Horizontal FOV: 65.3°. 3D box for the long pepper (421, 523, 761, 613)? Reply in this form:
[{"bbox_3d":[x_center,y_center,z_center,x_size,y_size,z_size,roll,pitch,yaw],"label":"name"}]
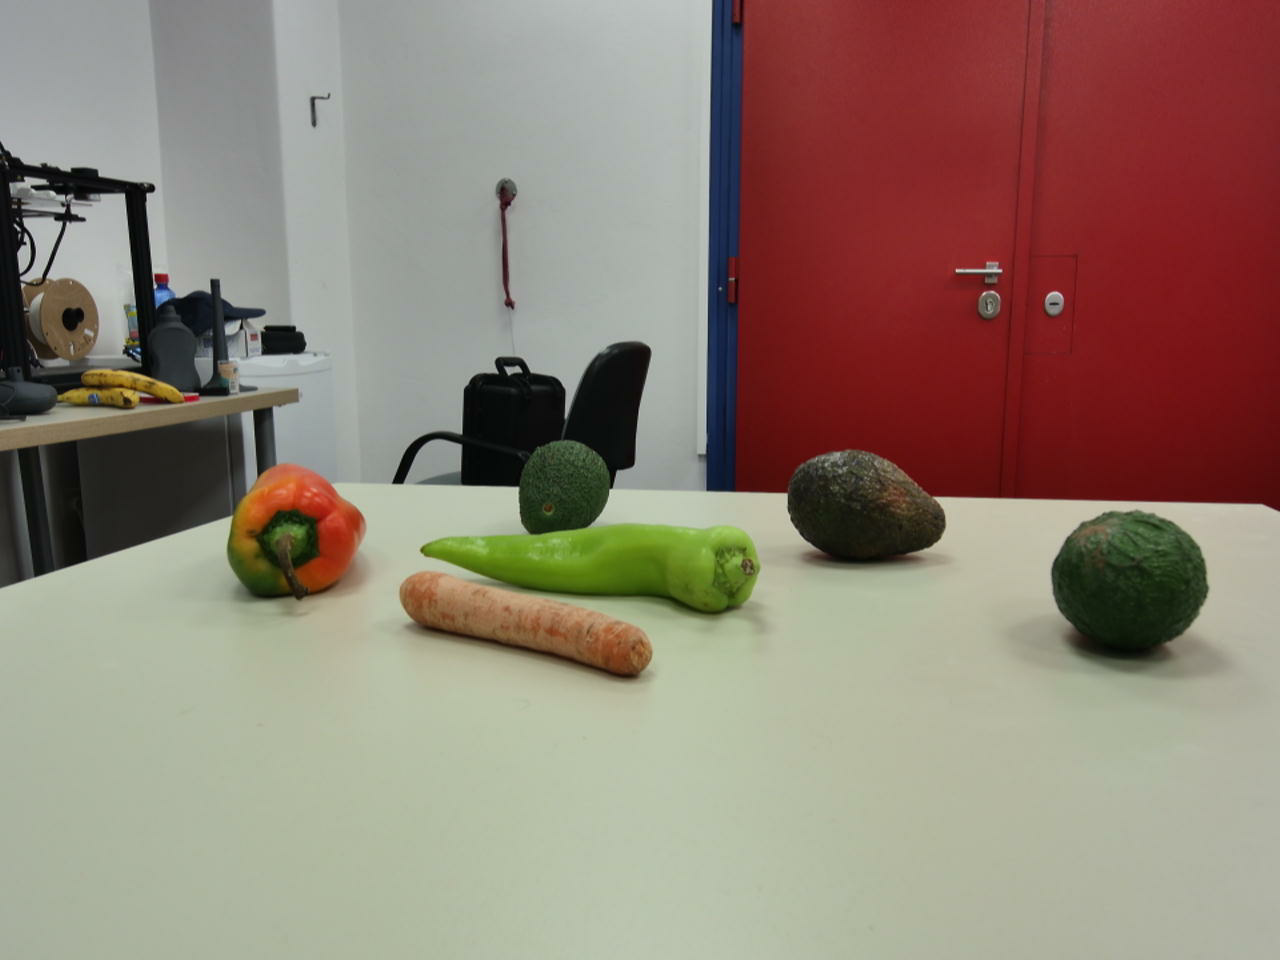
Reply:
[{"bbox_3d":[-0.020,0.042,0.550,0.205,0.045,0.065,3,7,28],"label":"long pepper"}]
